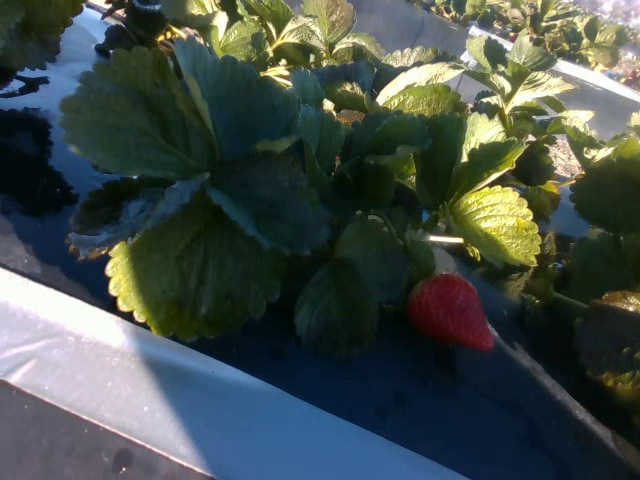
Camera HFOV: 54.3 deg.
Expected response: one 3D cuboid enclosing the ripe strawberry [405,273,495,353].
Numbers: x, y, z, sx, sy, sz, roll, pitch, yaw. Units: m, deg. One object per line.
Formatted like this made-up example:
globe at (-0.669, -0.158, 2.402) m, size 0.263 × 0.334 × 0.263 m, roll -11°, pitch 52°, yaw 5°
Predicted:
ripe strawberry at (0.072, 0.040, 0.321) m, size 0.045 × 0.059 × 0.042 m, roll -29°, pitch -34°, yaw -8°
